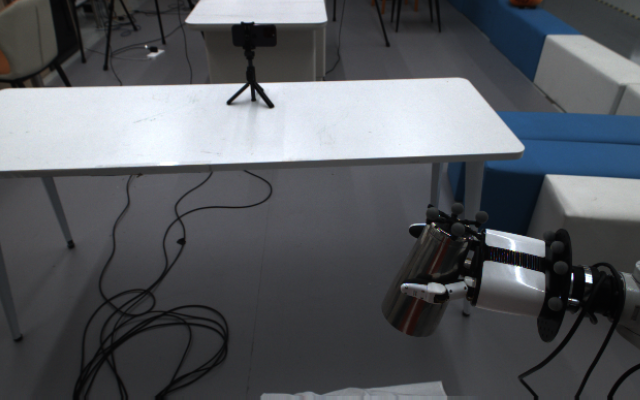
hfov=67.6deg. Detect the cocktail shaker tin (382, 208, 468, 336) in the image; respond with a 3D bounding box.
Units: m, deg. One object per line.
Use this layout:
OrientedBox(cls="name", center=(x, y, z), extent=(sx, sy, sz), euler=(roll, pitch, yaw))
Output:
OrientedBox(cls="cocktail shaker tin", center=(0.163, 0.105, 0.711), extent=(0.093, 0.170, 0.093), euler=(12, 29, -7))
